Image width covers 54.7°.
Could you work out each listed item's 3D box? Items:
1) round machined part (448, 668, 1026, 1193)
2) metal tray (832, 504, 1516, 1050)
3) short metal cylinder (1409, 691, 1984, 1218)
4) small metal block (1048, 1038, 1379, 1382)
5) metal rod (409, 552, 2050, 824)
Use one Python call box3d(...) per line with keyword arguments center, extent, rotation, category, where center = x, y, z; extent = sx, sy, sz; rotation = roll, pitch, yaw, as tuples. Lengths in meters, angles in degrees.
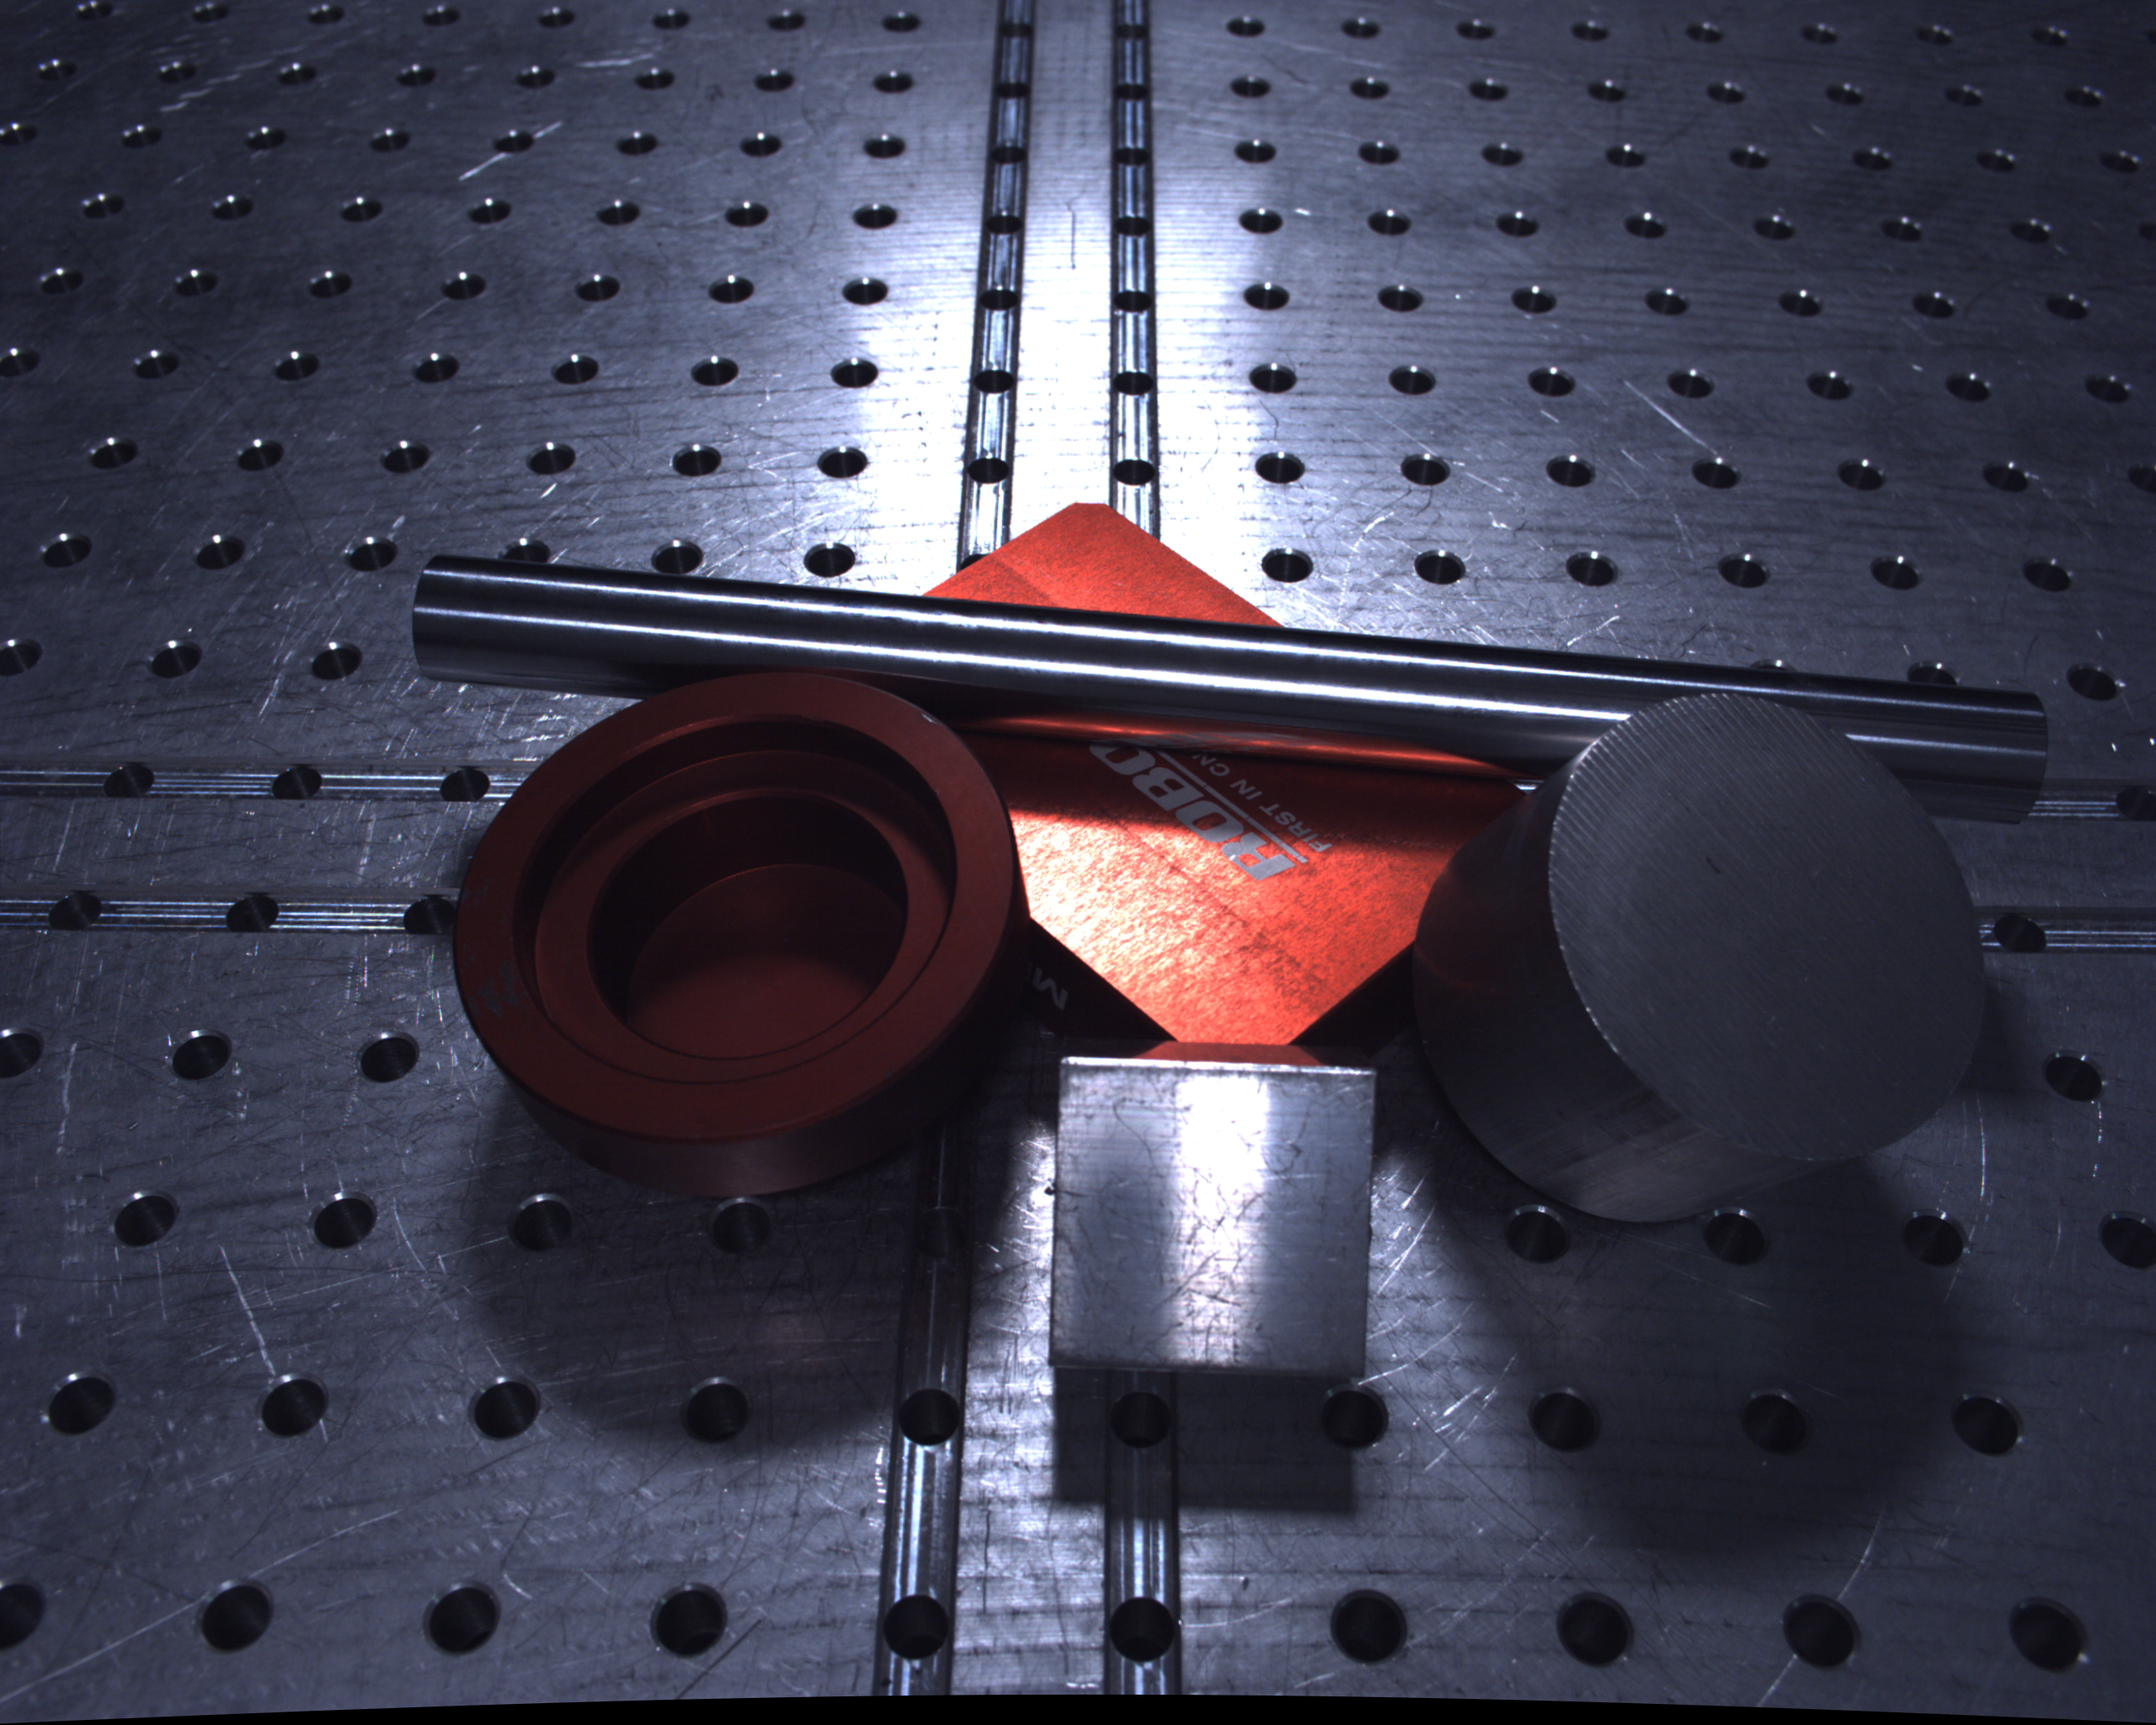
box3d(center=(-0.058, 0.015, 0.377), extent=(0.099, 0.042, 0.098), rotation=(-2, 56, 4), category="round machined part")
box3d(center=(0.015, -0.012, 0.416), extent=(0.091, 0.030, 0.130), rotation=(-36, 59, -27), category="metal tray")
box3d(center=(0.105, 0.017, 0.358), extent=(0.081, 0.050, 0.080), rotation=(6, 68, -16), category="short metal cylinder")
box3d(center=(0.022, 0.056, 0.343), extent=(0.050, 0.025, 0.050), rotation=(2, 93, 1), category="small metal block")
box3d(center=(0.025, -0.034, 0.395), extent=(0.302, 0.025, 0.025), rotation=(5, 50, 4), category="metal rod")
